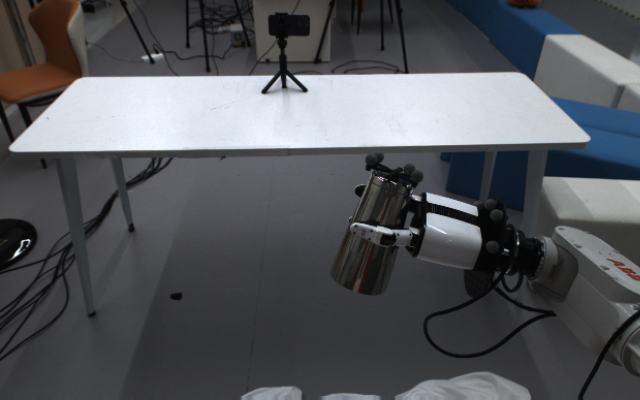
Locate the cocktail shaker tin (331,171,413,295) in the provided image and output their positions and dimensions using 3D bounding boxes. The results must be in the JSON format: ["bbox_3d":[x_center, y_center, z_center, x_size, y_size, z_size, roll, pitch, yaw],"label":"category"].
[{"bbox_3d":[0.083,0.045,0.728,0.093,0.170,0.093,15,17,-5],"label":"cocktail shaker tin"}]
